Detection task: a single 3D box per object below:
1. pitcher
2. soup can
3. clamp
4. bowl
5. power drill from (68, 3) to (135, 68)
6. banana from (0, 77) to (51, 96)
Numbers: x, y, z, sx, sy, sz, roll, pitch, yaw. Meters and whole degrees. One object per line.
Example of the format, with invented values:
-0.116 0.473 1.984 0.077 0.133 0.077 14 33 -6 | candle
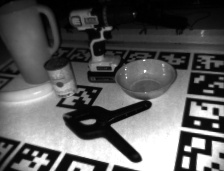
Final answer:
-0.252 -0.147 0.669 0.188 0.244 0.132 -10 36 3 | pitcher
-0.149 -0.041 0.629 0.068 0.103 0.067 -6 31 4 | soup can
-0.032 0.069 0.504 0.201 0.037 0.165 5 46 19 | clamp
0.077 -0.028 0.591 0.161 0.055 0.161 -7 40 7 | bowl
-0.018 -0.140 0.616 0.183 0.188 0.057 2 42 17 | power drill
-0.275 0.004 0.659 0.197 0.039 0.074 -10 30 0 | banana
